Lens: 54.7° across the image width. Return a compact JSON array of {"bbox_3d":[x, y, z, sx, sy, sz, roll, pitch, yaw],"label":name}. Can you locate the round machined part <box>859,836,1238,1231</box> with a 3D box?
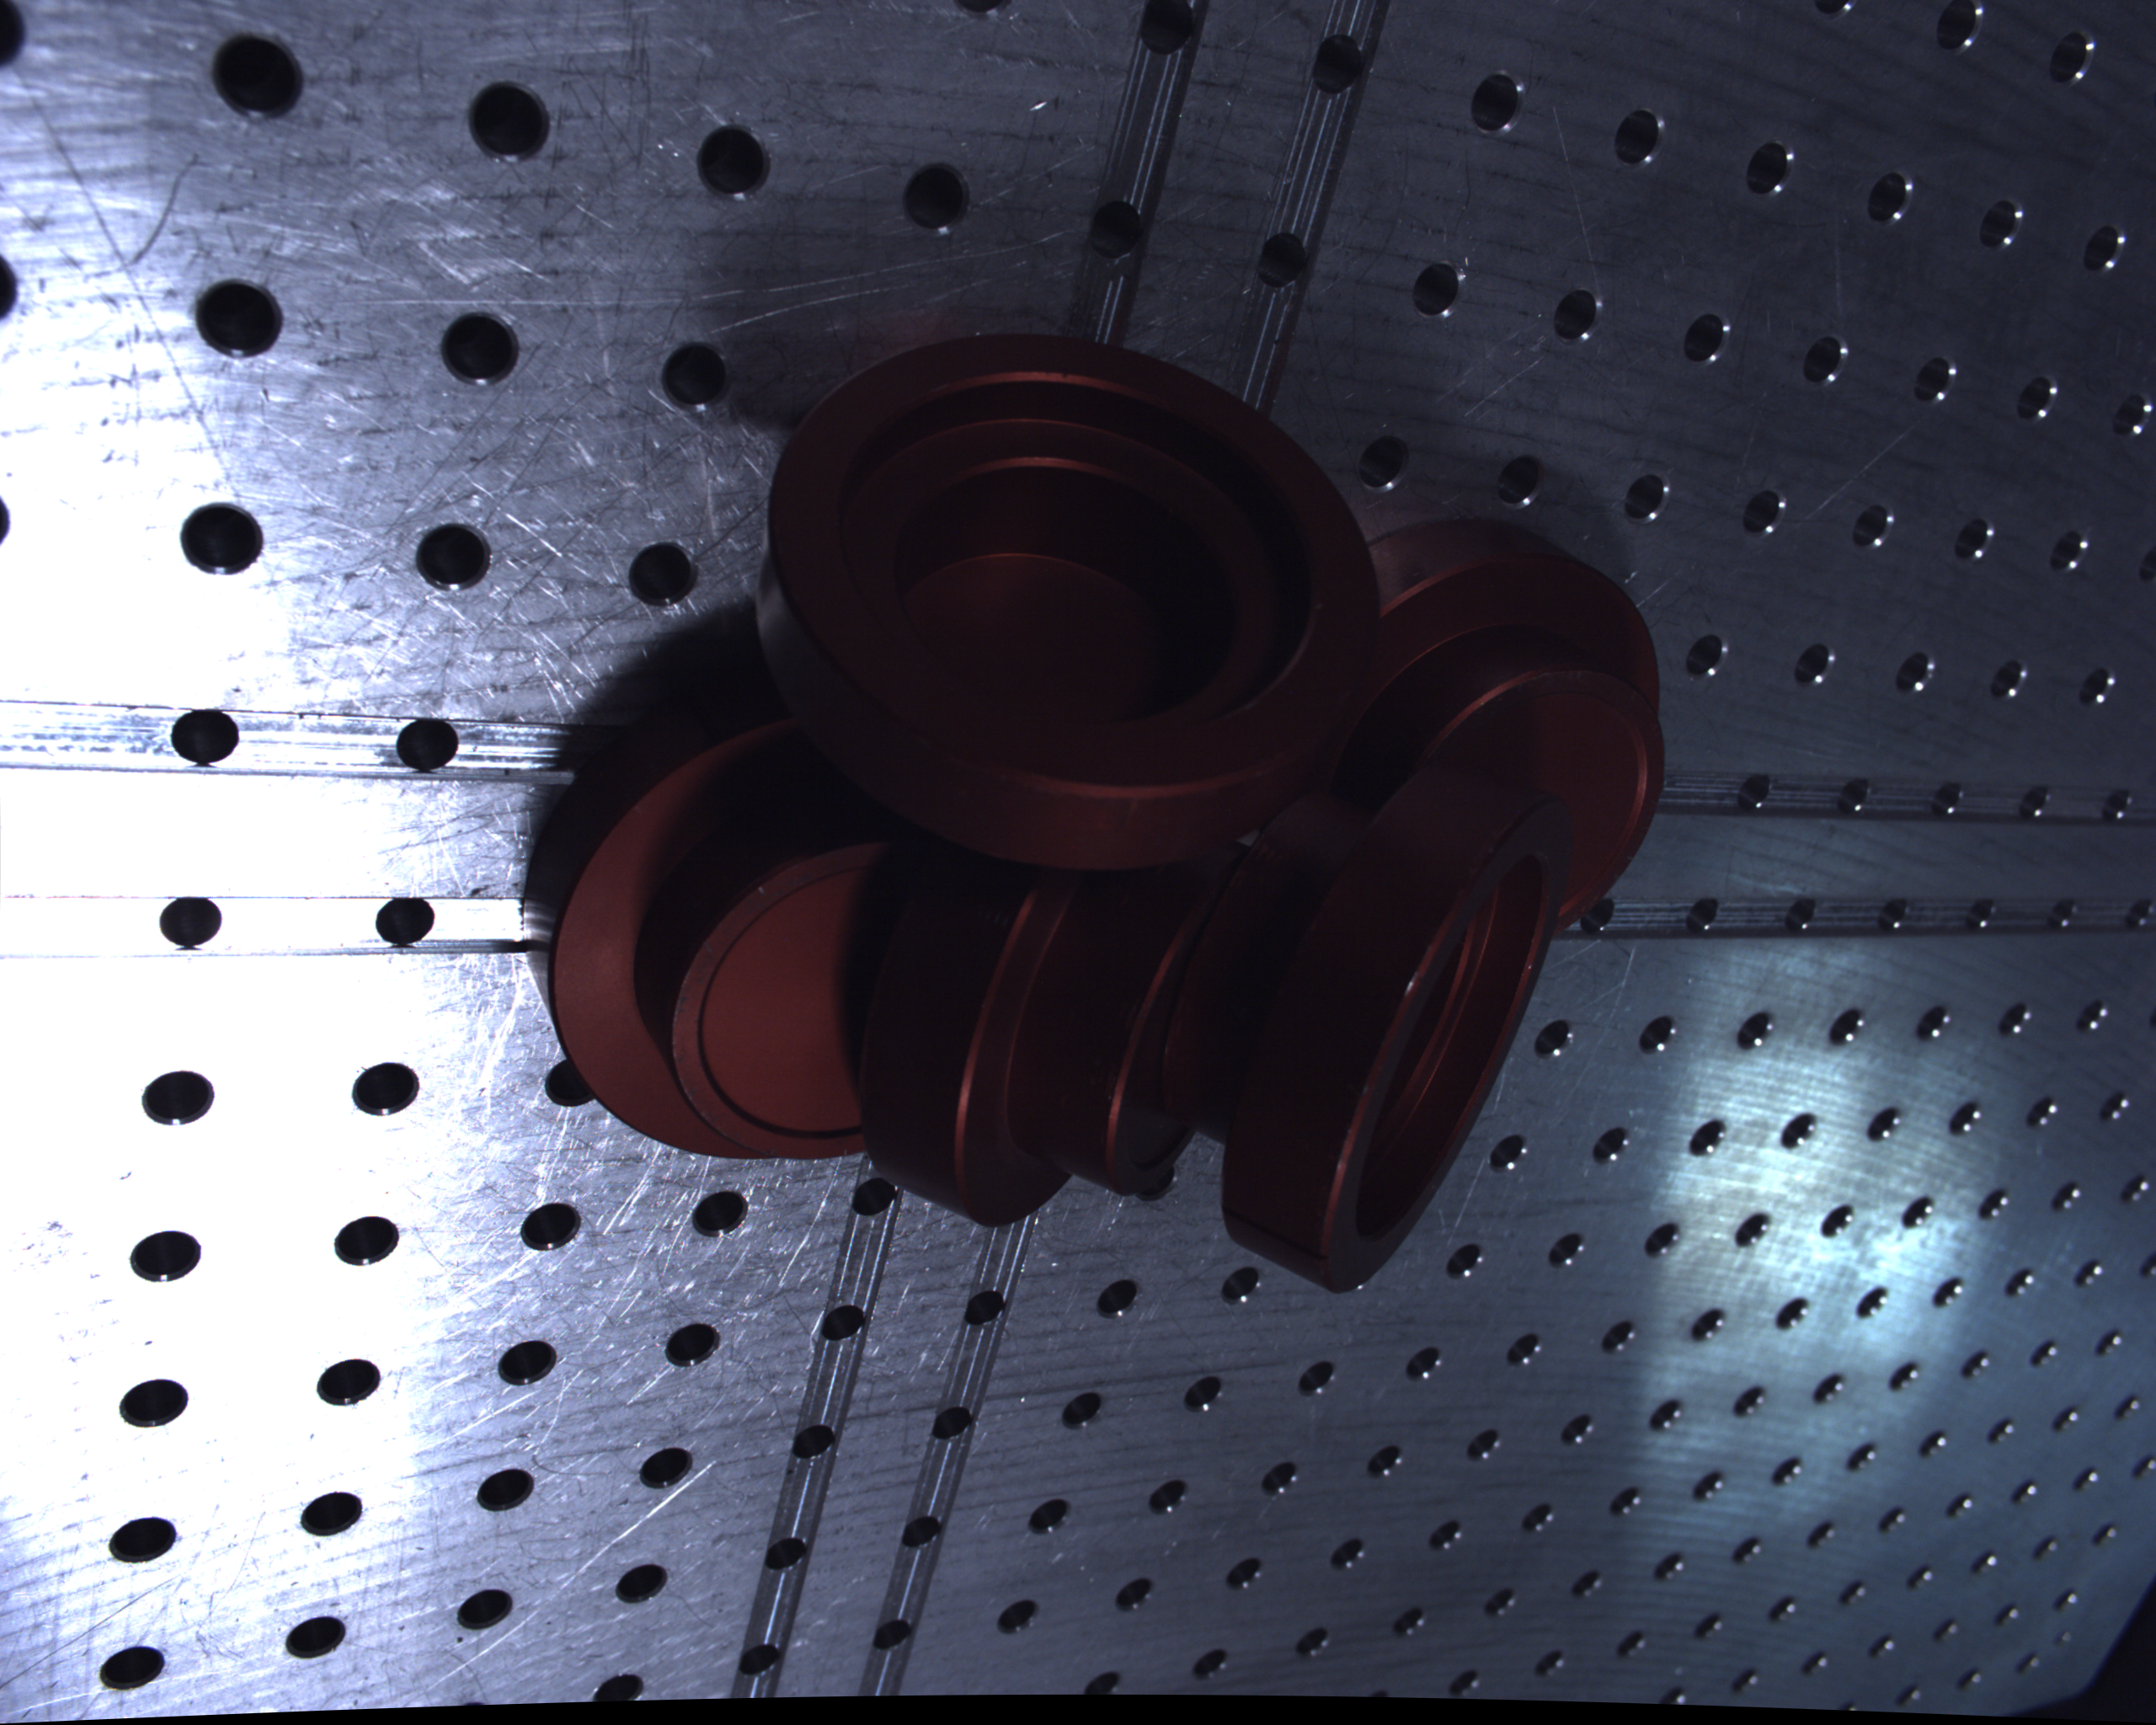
[{"bbox_3d":[0.004,0.023,0.388,0.098,0.042,0.097,-52,153,-39],"label":"round machined part"}]

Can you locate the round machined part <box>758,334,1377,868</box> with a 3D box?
[{"bbox_3d":[-0.004,-0.039,0.346,0.099,0.098,0.042,-12,149,-22],"label":"round machined part"}]

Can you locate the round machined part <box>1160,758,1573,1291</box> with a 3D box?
[{"bbox_3d":[0.050,0.026,0.383,0.098,0.042,0.097,-47,151,-37],"label":"round machined part"}]

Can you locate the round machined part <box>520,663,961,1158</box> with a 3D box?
[{"bbox_3d":[-0.049,0.015,0.384,0.099,0.042,0.097,-14,125,-21],"label":"round machined part"}]

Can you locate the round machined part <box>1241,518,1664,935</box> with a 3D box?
[{"bbox_3d":[0.082,-0.019,0.435,0.099,0.042,0.097,-14,125,-21],"label":"round machined part"}]
